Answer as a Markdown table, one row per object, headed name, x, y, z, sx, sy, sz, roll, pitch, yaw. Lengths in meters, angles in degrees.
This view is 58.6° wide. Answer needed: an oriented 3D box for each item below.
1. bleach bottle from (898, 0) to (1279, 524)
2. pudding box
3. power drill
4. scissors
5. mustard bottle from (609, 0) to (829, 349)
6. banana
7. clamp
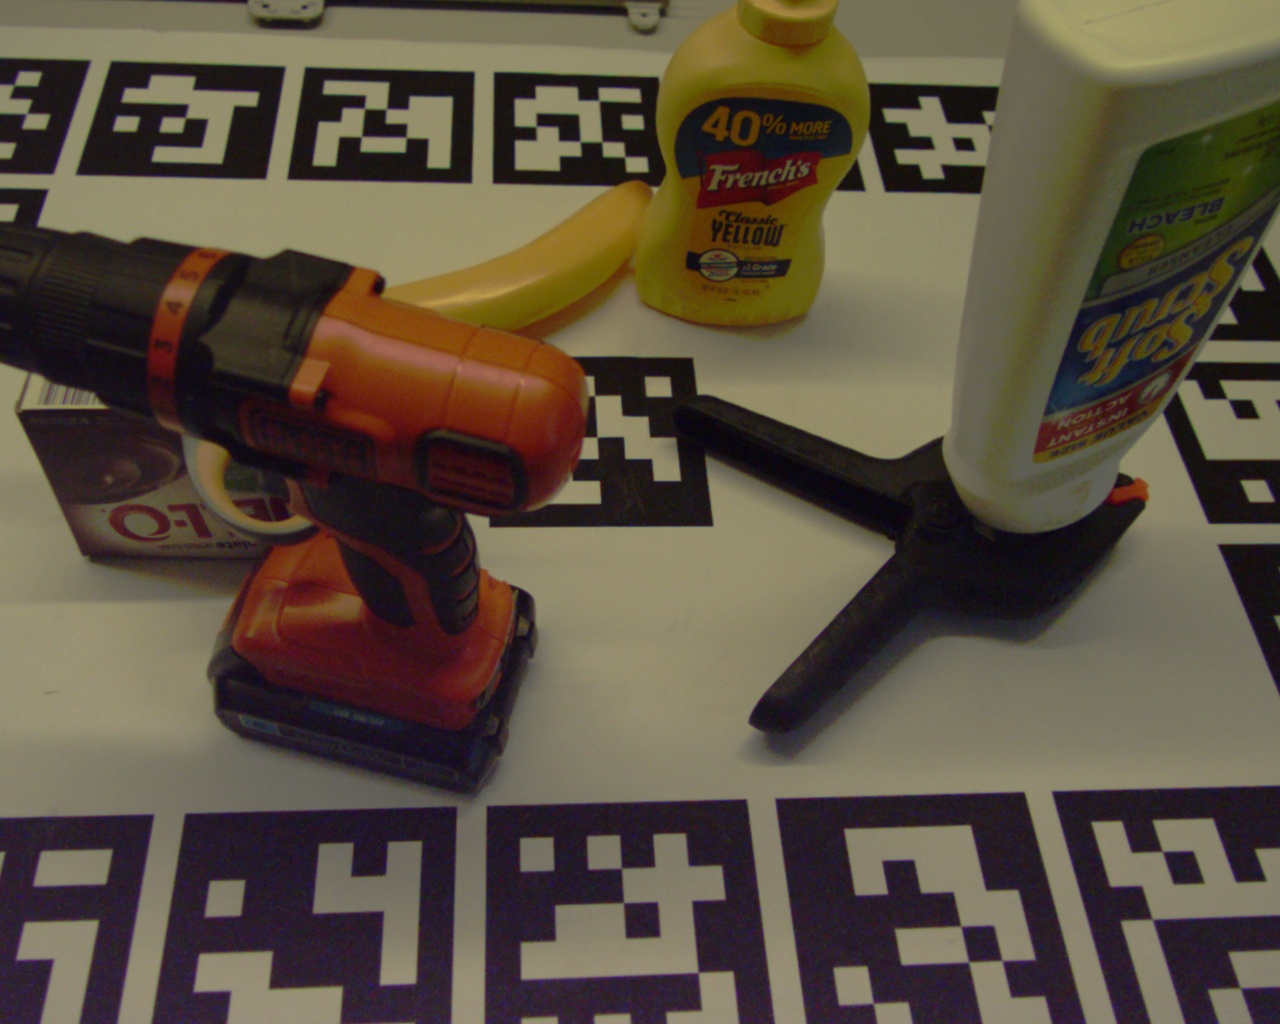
| name | x | y | z | sx | sy | sz | roll | pitch | yaw |
| --- | --- | --- | --- | --- | --- | --- | --- | --- | --- |
| bleach bottle | 0.161 | -0.074 | 0.453 | 0.102 | 0.249 | 0.068 | -19 | 56 | -10 |
| pudding box | -0.197 | -0.027 | 0.500 | 0.113 | 0.090 | 0.039 | 4 | 49 | -3 |
| power drill | -0.126 | 0.000 | 0.395 | 0.185 | 0.186 | 0.057 | 10 | 49 | 5 |
| scissors | -0.200 | -0.069 | 0.451 | 0.203 | 0.016 | 0.087 | 24 | 61 | 5 |
| mustard bottle | 0.041 | -0.165 | 0.561 | 0.096 | 0.191 | 0.058 | 13 | 55 | 1 |
| banana | -0.074 | -0.141 | 0.613 | 0.196 | 0.038 | 0.075 | -36 | 49 | -25 |
| clamp | 0.117 | -0.003 | 0.527 | 0.202 | 0.036 | 0.166 | -5 | 58 | -10 |
